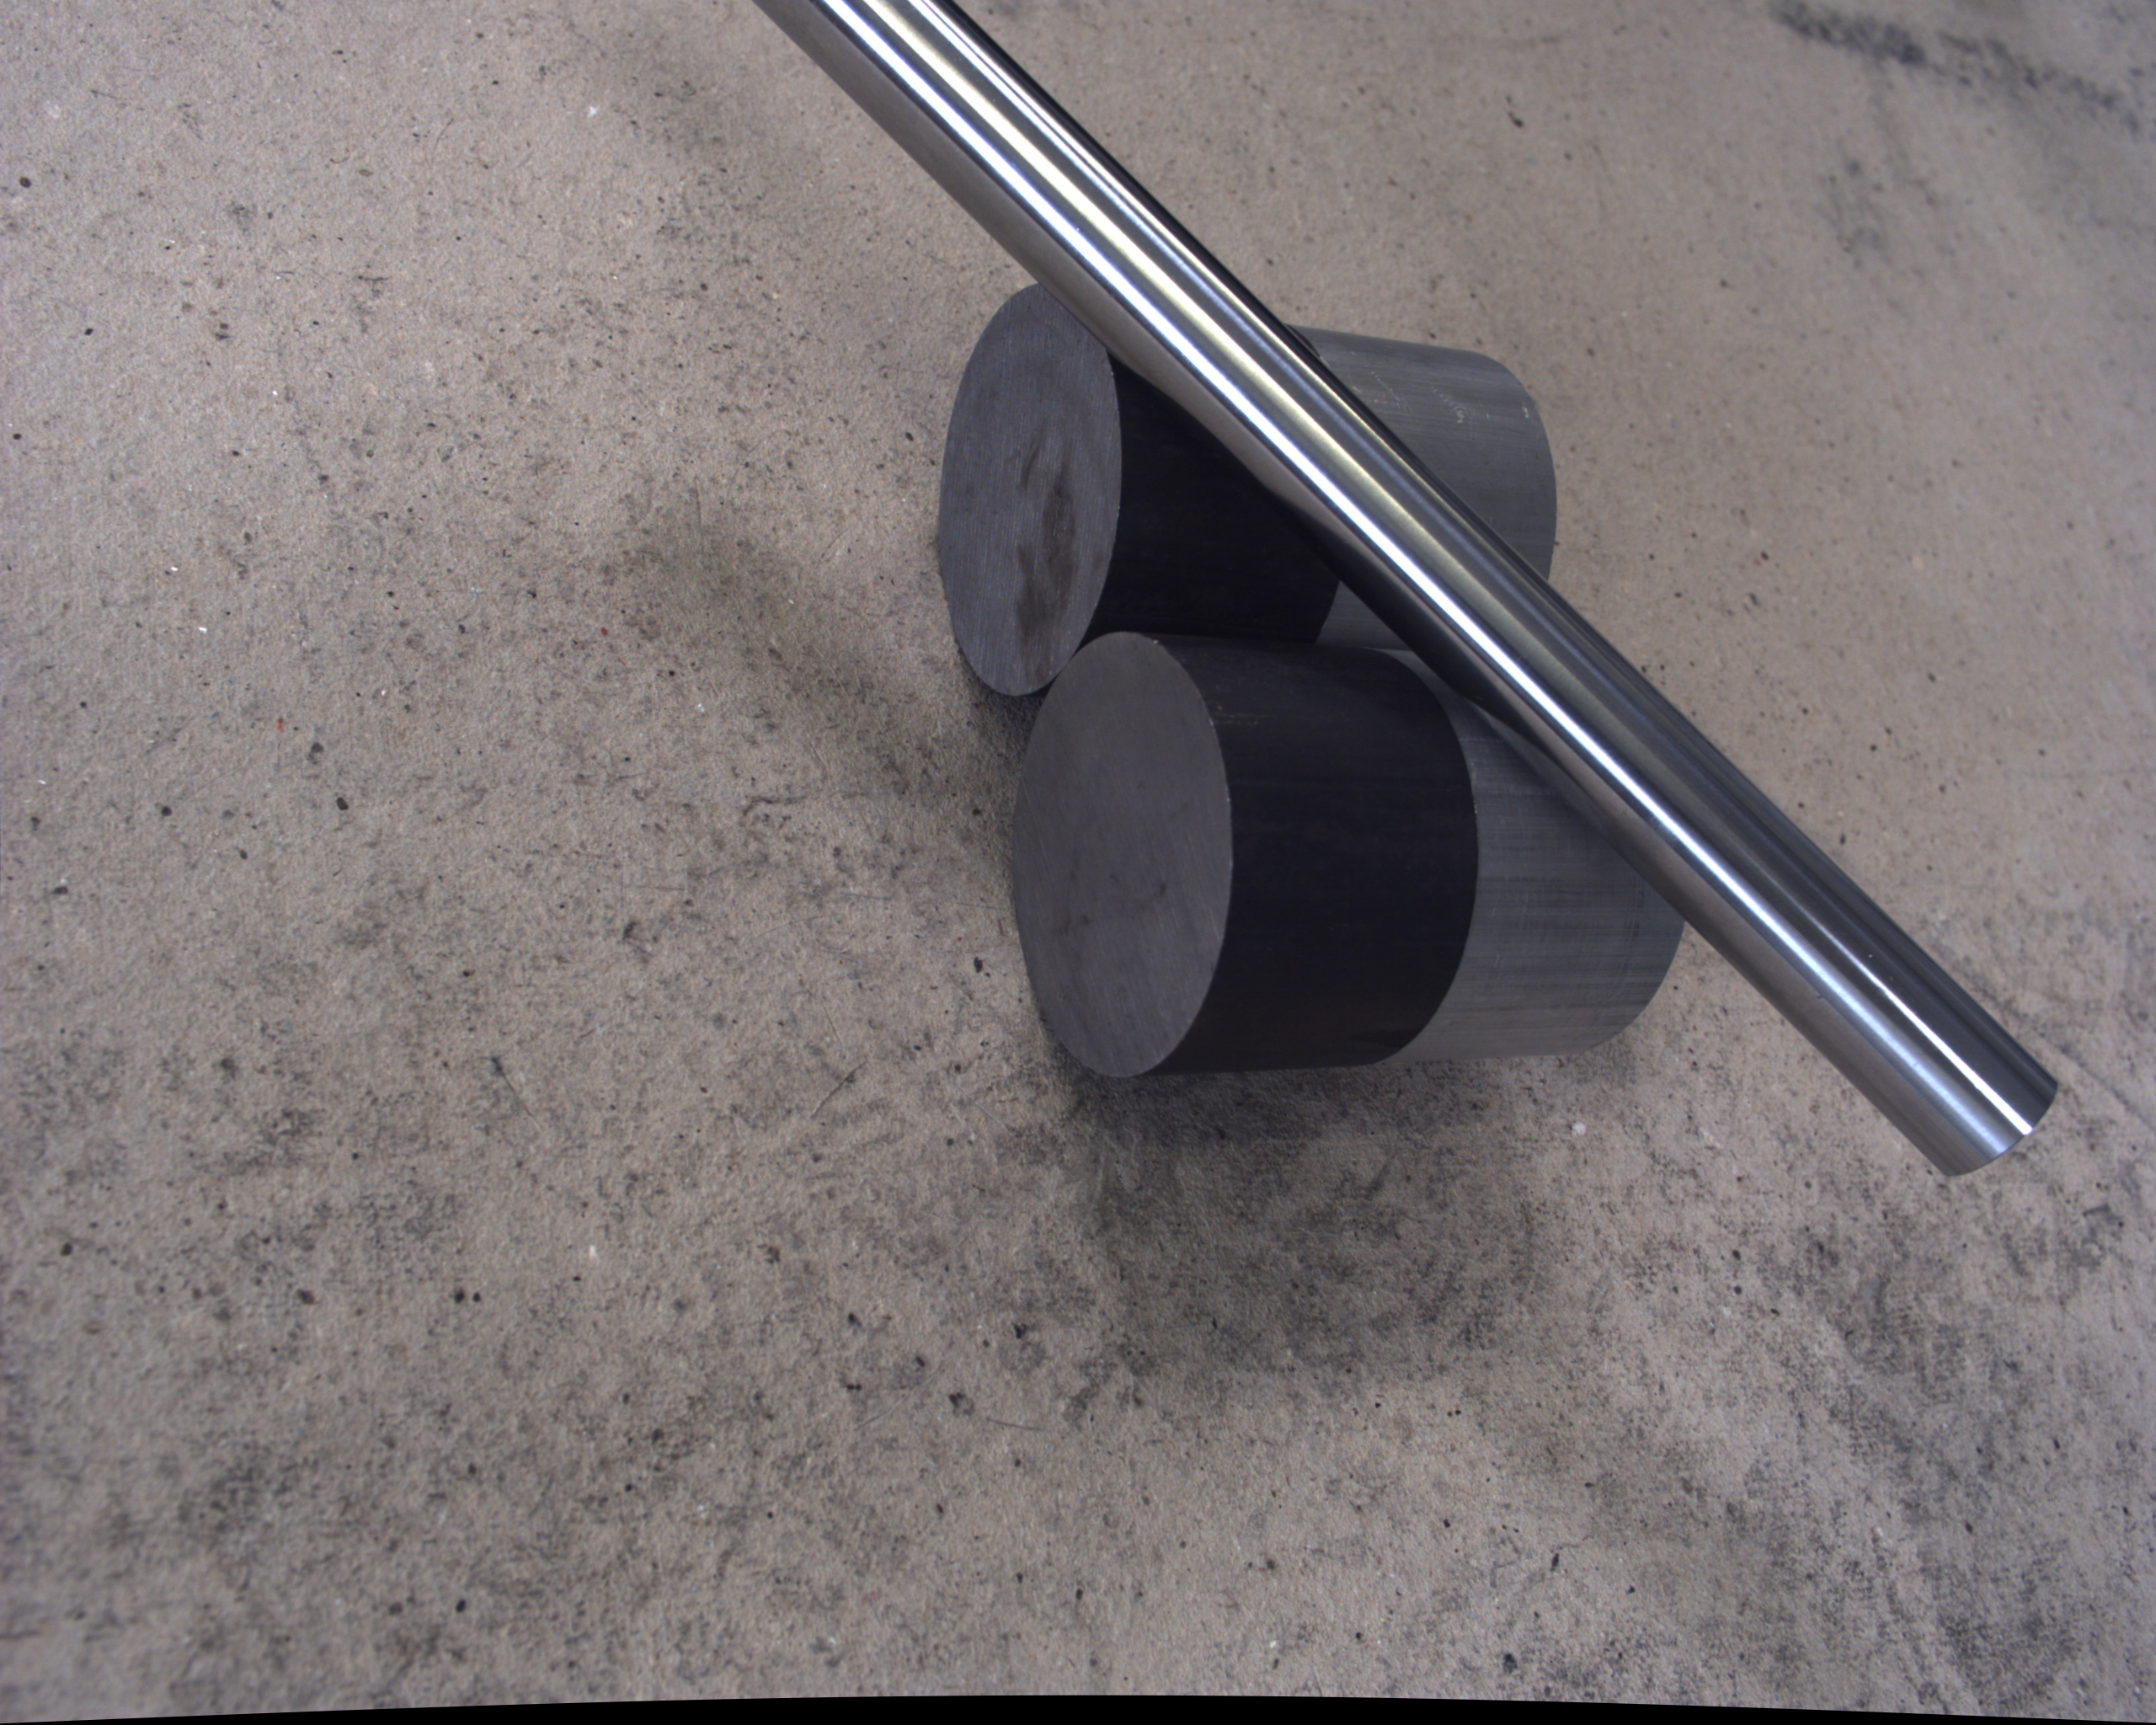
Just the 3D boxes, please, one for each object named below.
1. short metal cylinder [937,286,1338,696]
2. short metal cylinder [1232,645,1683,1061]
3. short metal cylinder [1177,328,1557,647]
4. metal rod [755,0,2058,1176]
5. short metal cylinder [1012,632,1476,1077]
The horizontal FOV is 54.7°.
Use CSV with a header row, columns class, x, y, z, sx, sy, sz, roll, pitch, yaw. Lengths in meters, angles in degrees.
class,x,y,z,sx,sy,sz,roll,pitch,yaw
short metal cylinder,0.011,-0.072,0.420,0.050,0.080,0.080,1,62,-28
short metal cylinder,0.073,-0.001,0.410,0.050,0.080,0.080,1,62,-28
short metal cylinder,0.056,-0.072,0.444,0.050,0.080,0.080,1,62,-28
metal rod,0.054,-0.061,0.368,0.300,0.025,0.025,45,51,3
short metal cylinder,0.028,-0.001,0.386,0.050,0.080,0.080,1,62,-28
